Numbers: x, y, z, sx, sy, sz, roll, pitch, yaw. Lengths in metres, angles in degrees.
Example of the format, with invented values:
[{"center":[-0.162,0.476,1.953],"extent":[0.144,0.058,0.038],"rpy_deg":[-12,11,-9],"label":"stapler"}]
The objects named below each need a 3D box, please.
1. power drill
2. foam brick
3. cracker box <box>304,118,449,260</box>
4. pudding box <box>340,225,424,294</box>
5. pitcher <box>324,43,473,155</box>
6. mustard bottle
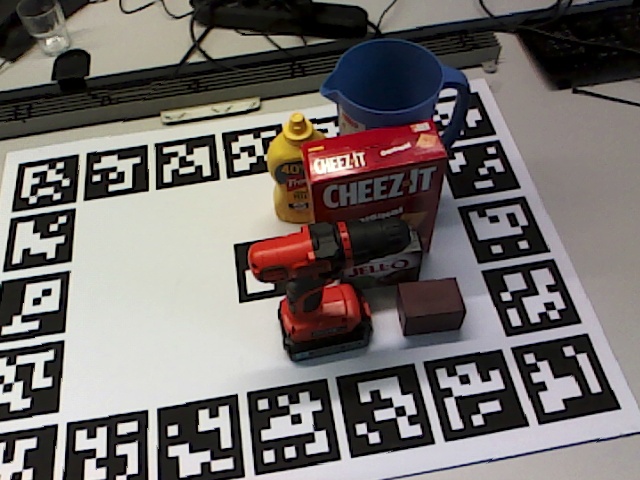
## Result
[{"center":[0.022,0.049,0.729],"extent":[0.184,0.186,0.057],"rpy_deg":[-9,53,-2],"label":"power drill"},{"center":[0.147,0.088,0.814],"extent":[0.078,0.051,0.053],"rpy_deg":[-7,58,0],"label":"foam brick"},{"center":[0.076,-0.044,0.805],"extent":[0.164,0.213,0.072],"rpy_deg":[-12,55,0],"label":"cracker box"},{"center":[0.079,0.026,0.822],"extent":[0.114,0.089,0.039],"rpy_deg":[-9,55,2],"label":"pudding box"},{"center":[0.108,-0.138,0.858],"extent":[0.189,0.241,0.133],"rpy_deg":[-4,57,4],"label":"pitcher"},{"center":[-0.023,-0.112,0.865],"extent":[0.096,0.191,0.058],"rpy_deg":[2,58,6],"label":"mustard bottle"}]
